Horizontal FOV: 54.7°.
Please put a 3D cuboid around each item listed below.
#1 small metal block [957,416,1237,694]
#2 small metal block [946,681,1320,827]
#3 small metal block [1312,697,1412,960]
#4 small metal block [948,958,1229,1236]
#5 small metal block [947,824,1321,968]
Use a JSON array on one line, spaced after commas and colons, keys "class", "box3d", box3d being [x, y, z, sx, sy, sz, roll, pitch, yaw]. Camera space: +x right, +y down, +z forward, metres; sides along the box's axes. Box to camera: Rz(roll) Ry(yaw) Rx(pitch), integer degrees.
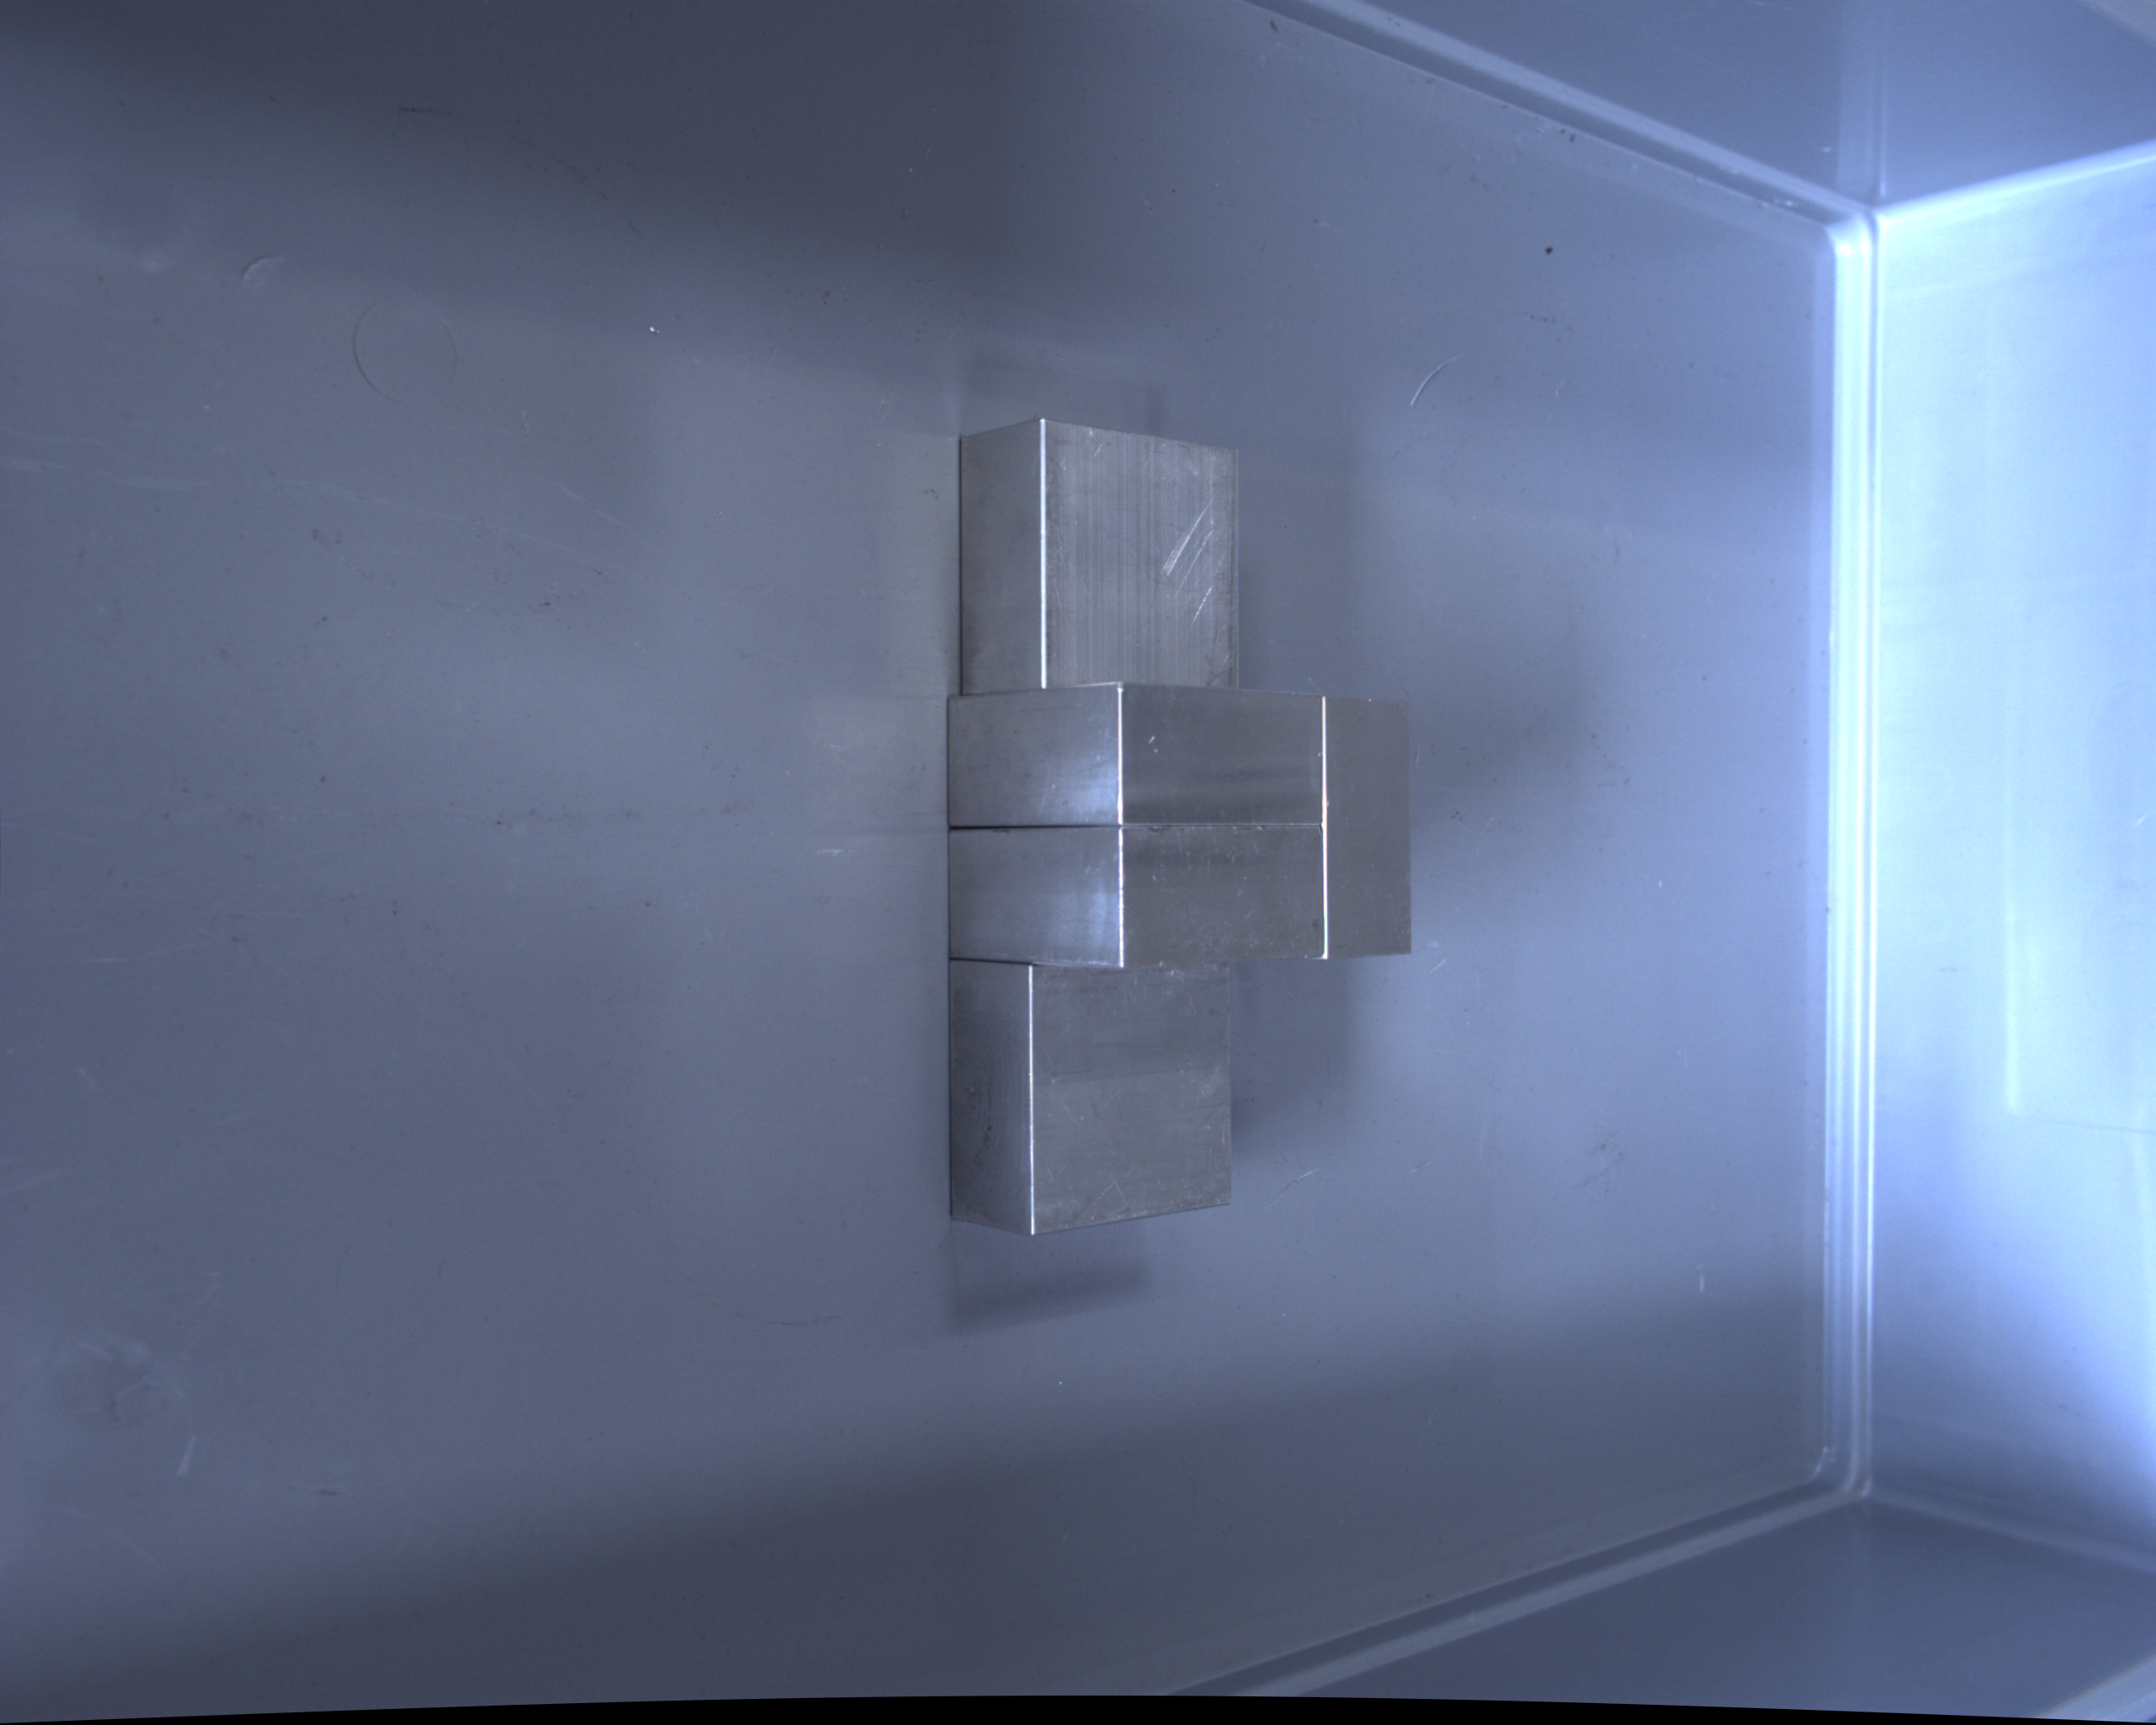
[{"class": "small metal block", "box3d": [0.004, -0.057, 0.407, 0.050, 0.025, 0.050, 0, 90, -40]}, {"class": "small metal block", "box3d": [0.010, -0.019, 0.396, 0.050, 0.050, 0.025, 0, 91, -40]}, {"class": "small metal block", "box3d": [0.040, -0.007, 0.421, 0.025, 0.050, 0.050, 0, 90, -40]}, {"class": "small metal block", "box3d": [0.003, 0.043, 0.406, 0.050, 0.025, 0.050, 0, 90, -40]}, {"class": "small metal block", "box3d": [0.010, 0.005, 0.397, 0.050, 0.050, 0.025, 0, 91, -40]}]
